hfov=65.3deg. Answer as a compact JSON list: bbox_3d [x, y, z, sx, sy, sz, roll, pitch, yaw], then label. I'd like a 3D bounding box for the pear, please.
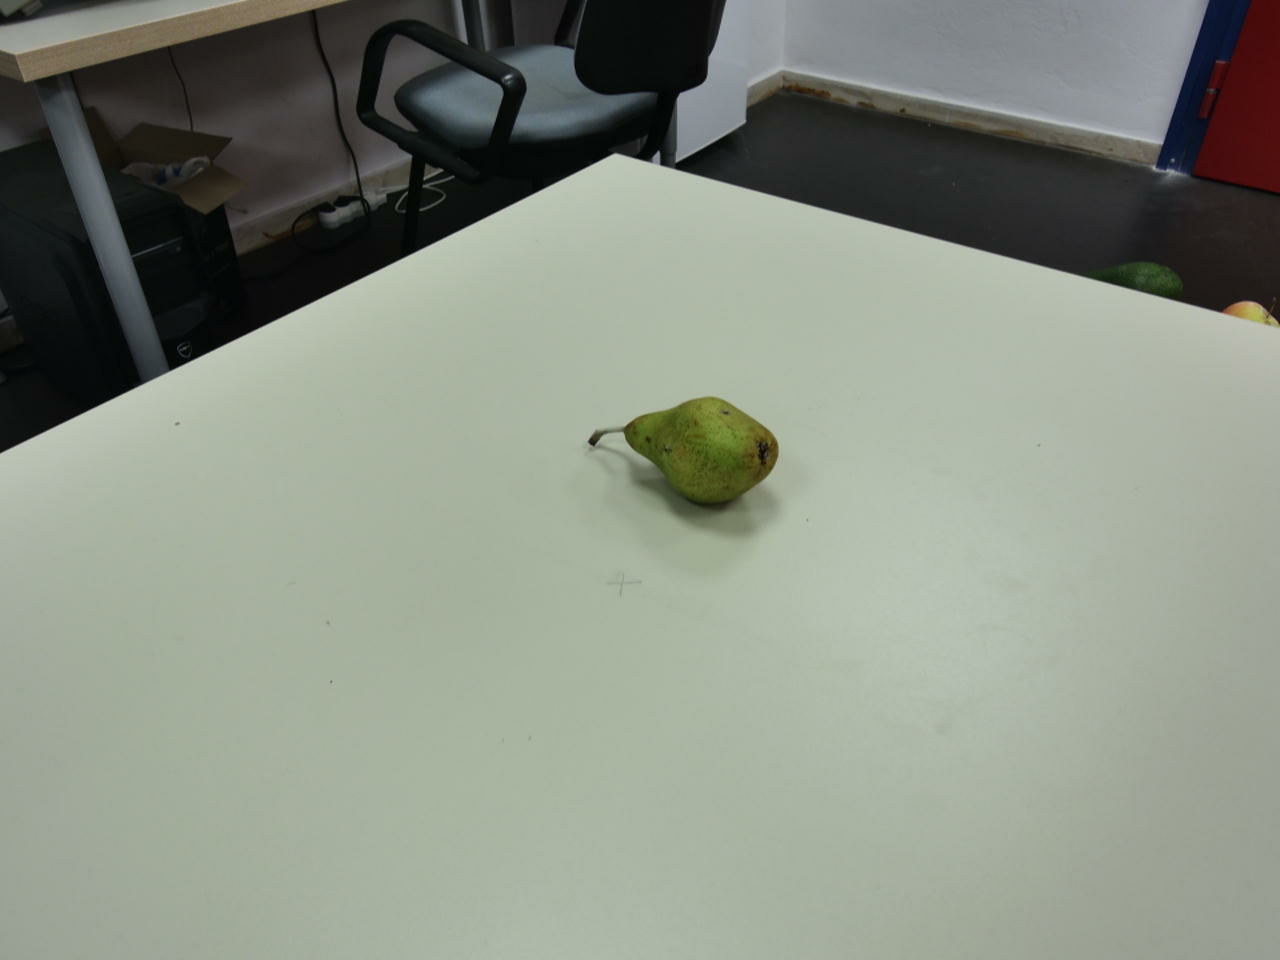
[{"bbox_3d":[0.025,-0.024,0.540,0.056,0.056,0.111,-24,43,-28],"label":"pear"}]
